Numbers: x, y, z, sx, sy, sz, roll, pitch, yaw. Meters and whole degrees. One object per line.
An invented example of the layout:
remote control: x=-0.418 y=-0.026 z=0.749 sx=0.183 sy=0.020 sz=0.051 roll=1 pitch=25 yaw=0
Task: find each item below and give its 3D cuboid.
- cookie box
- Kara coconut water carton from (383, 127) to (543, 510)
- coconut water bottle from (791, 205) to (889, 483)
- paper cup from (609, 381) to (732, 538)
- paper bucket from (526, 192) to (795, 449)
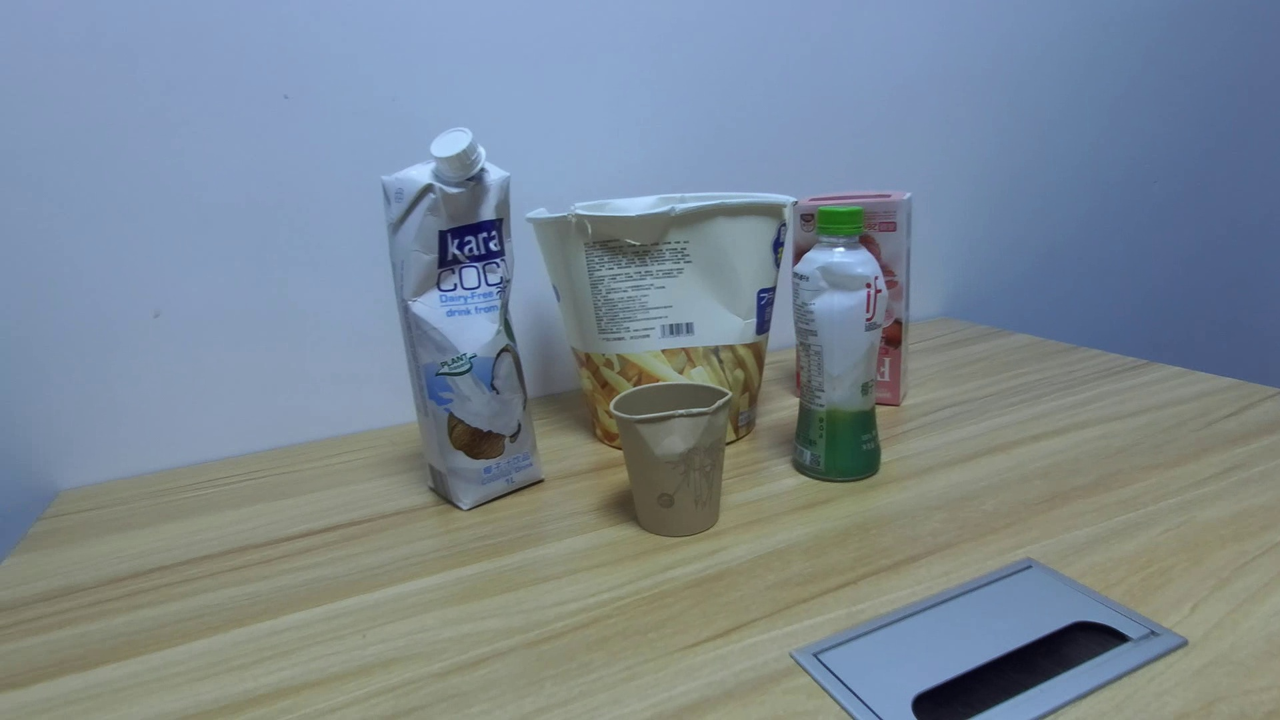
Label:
cookie box: x=0.191 y=-0.055 z=0.645 sx=0.105 sy=0.187 sz=0.049 roll=4 pitch=16 yaw=27
Kara coconut water carton: x=-0.126 y=-0.027 z=0.498 sx=0.083 sy=0.255 sz=0.078 roll=-12 pitch=20 yaw=-26
coconut water bottle: x=0.141 y=-0.012 z=0.496 sx=0.069 sy=0.186 sz=0.069 roll=-2 pitch=15 yaw=1
paper cup: x=0.023 y=0.065 z=0.454 sx=0.068 sy=0.081 sz=0.074 roll=8 pitch=18 yaw=44
paper bucket: x=0.020 y=-0.039 z=0.605 sx=0.203 sy=0.197 sz=0.145 roll=-7 pitch=16 yaw=-11
